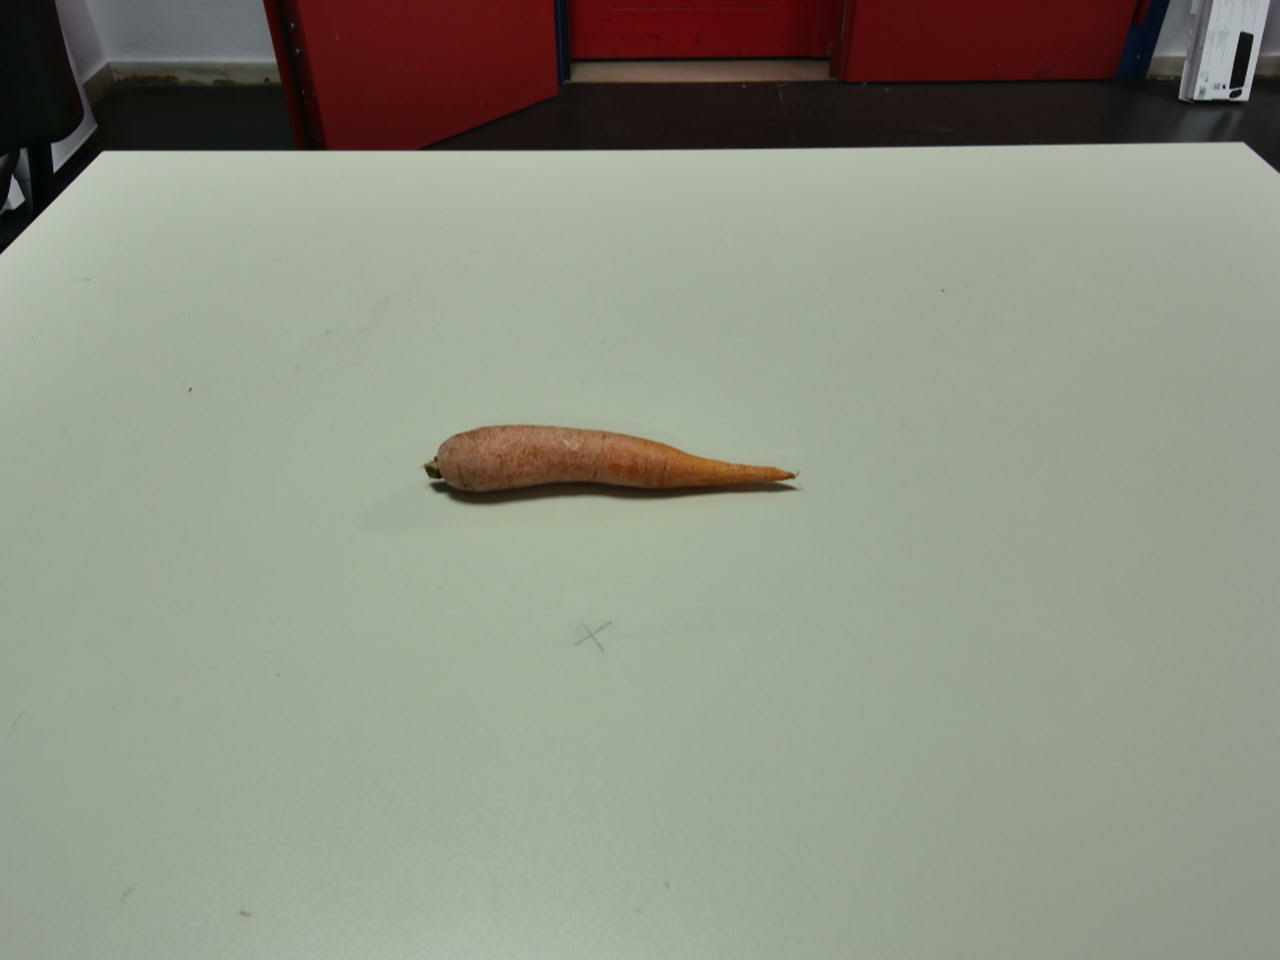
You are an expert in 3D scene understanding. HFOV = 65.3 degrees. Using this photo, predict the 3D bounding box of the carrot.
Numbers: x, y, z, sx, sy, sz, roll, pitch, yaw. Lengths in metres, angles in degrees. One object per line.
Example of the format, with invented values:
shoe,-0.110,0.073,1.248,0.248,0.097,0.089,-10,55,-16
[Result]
carrot,-0.012,-0.009,0.444,0.163,0.029,0.031,0,38,0
